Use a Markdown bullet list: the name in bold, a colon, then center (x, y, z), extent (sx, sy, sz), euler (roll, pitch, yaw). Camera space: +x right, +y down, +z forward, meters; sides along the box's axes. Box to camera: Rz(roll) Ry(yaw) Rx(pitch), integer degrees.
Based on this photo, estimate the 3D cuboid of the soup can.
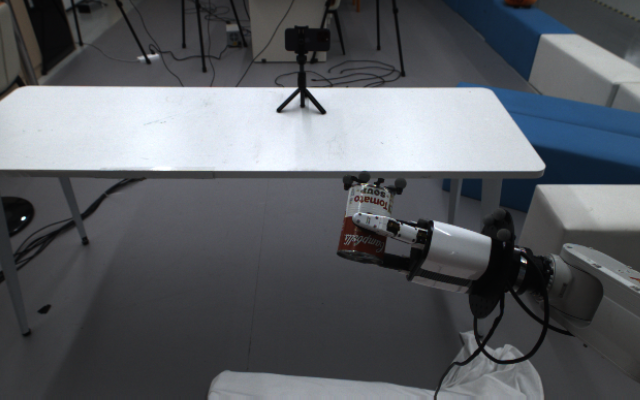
- **soup can**: center (0.067, 0.034, 0.696), extent (0.067, 0.067, 0.101), euler (9, 74, 9)
